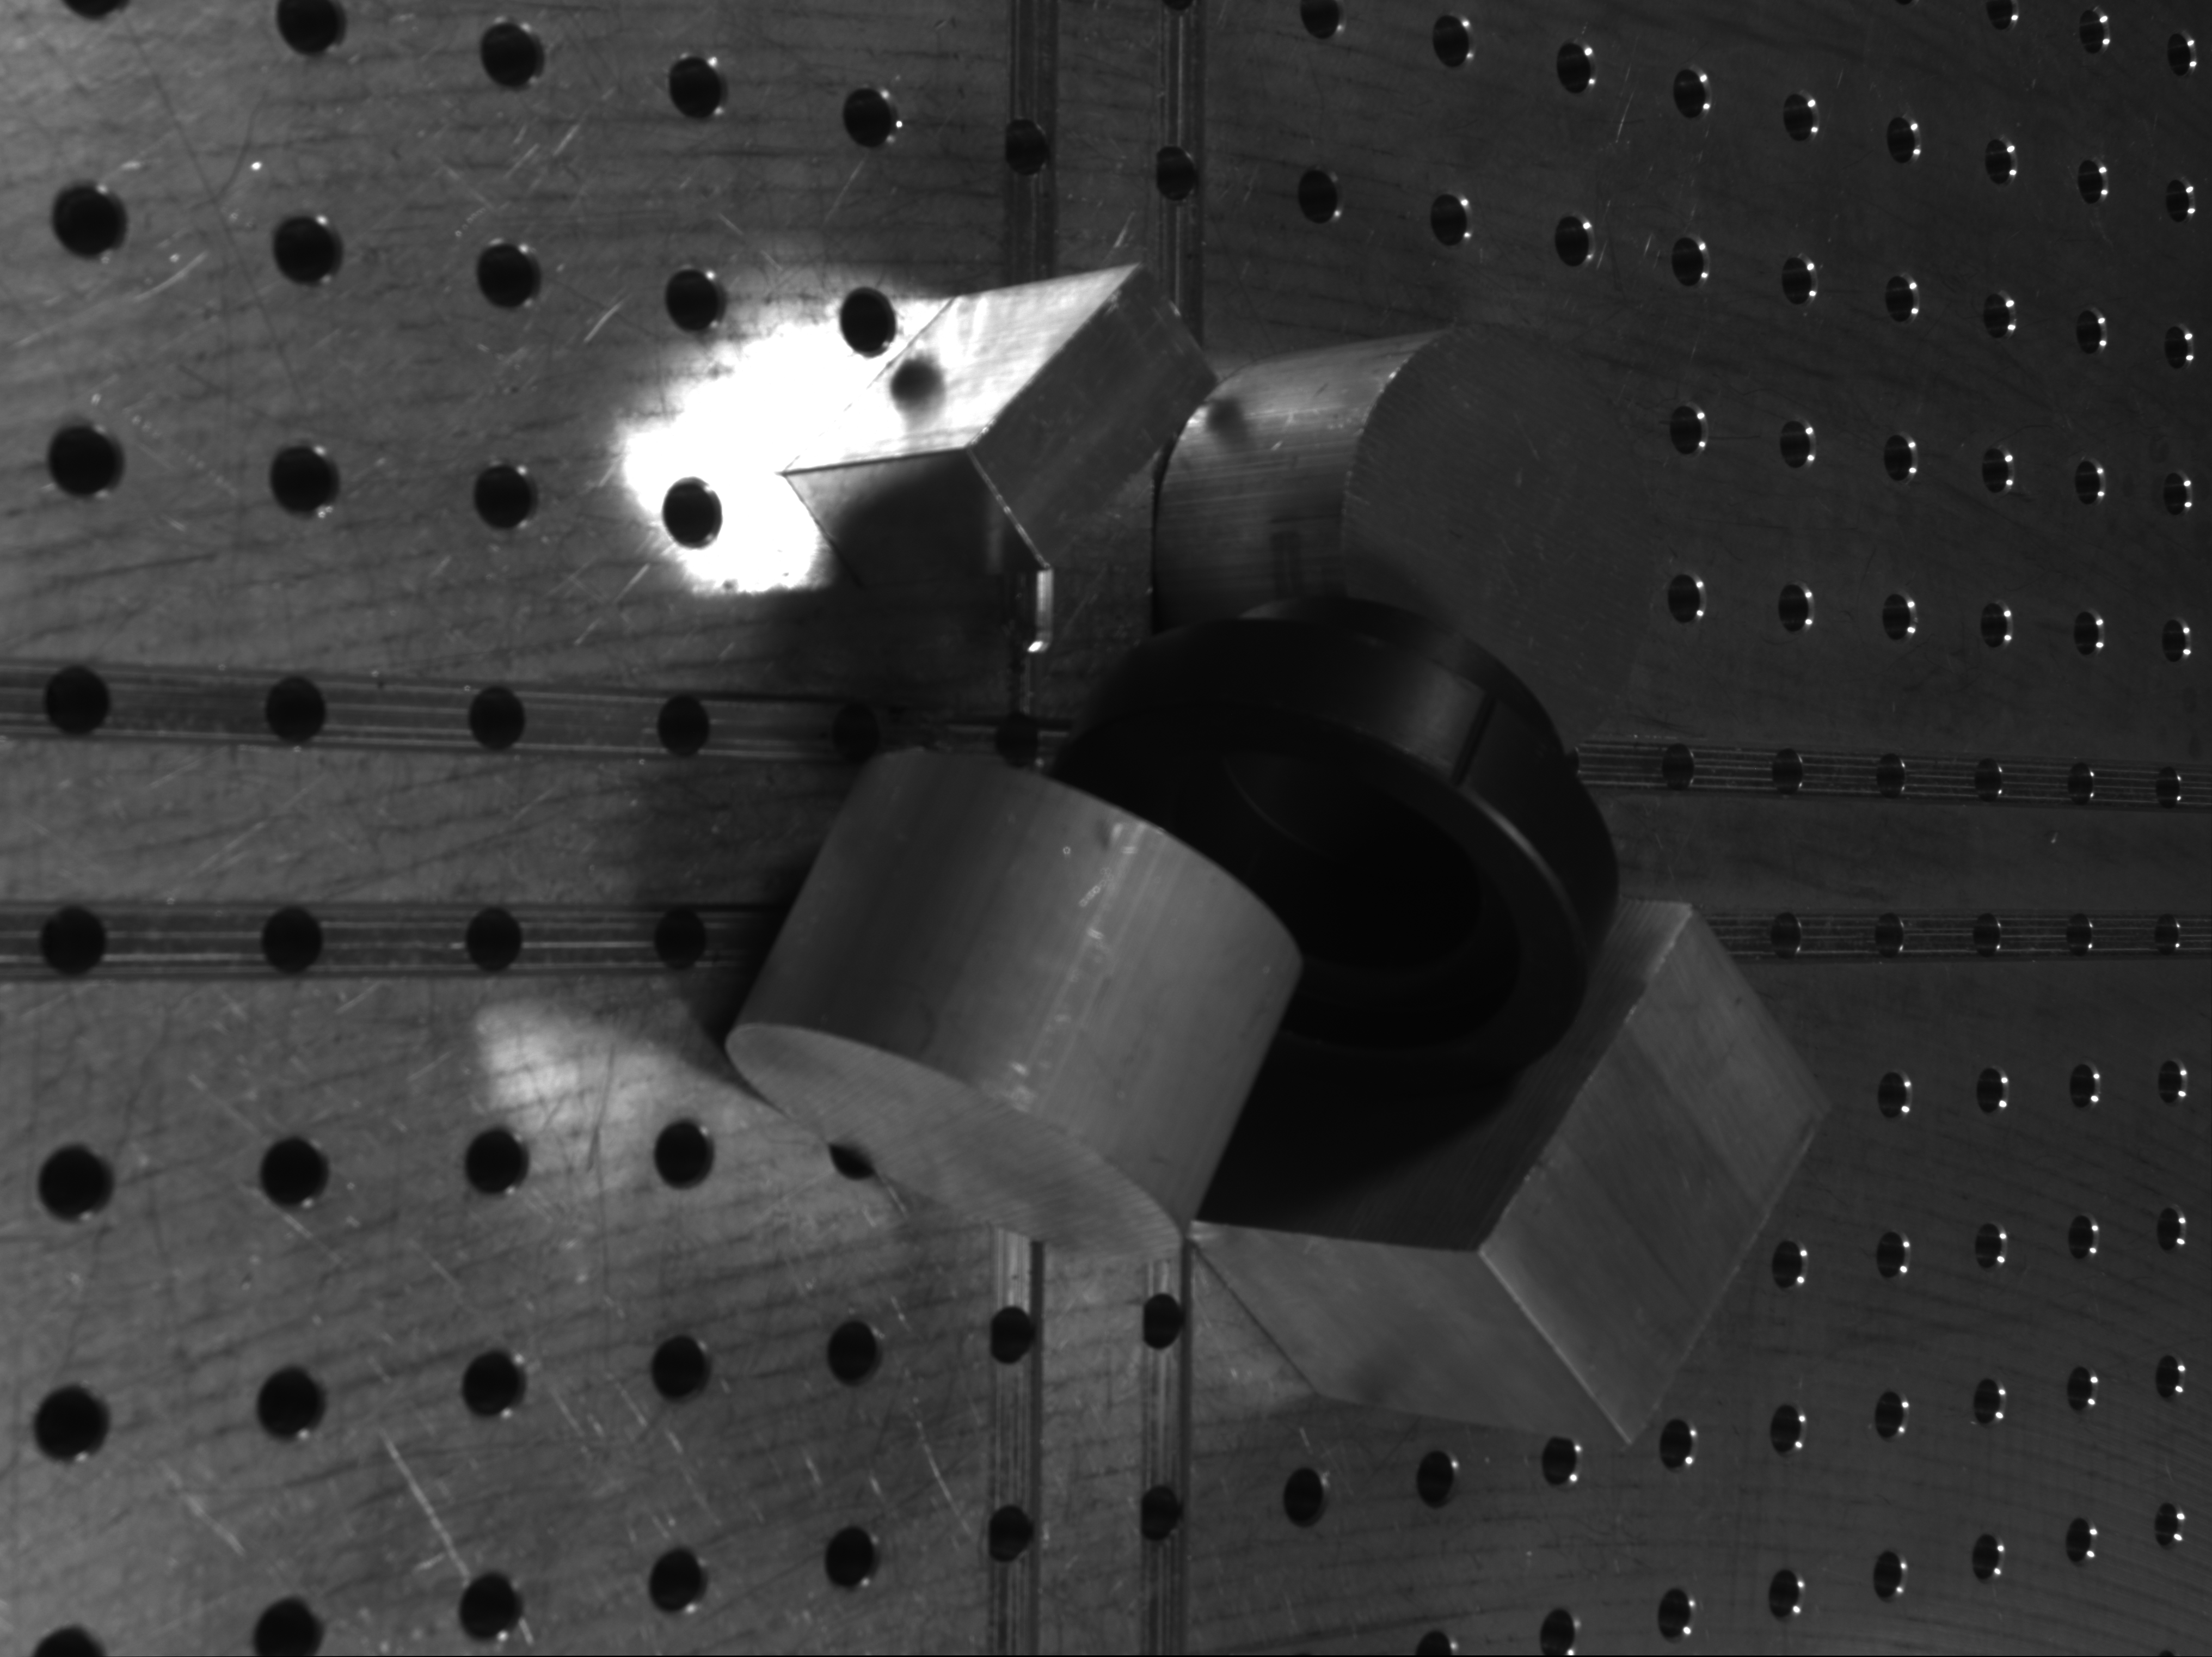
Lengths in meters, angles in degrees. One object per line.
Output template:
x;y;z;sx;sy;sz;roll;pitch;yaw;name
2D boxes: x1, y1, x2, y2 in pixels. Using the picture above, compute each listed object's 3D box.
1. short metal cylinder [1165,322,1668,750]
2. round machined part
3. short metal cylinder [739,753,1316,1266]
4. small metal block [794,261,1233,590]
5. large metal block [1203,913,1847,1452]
0.057;-0.050;0.671;0.080;0.050;0.080;0;90;-40;short metal cylinder
0.043;-0.001;0.630;0.098;0.098;0.042;49;49;-29;round machined part
-0.012;0.030;0.594;0.080;0.080;0.050;38;67;-33;short metal cylinder
-0.015;-0.067;0.611;0.050;0.050;0.025;-50;119;-28;small metal block
0.074;0.061;0.667;0.050;0.080;0.080;51;60;-28;large metal block
